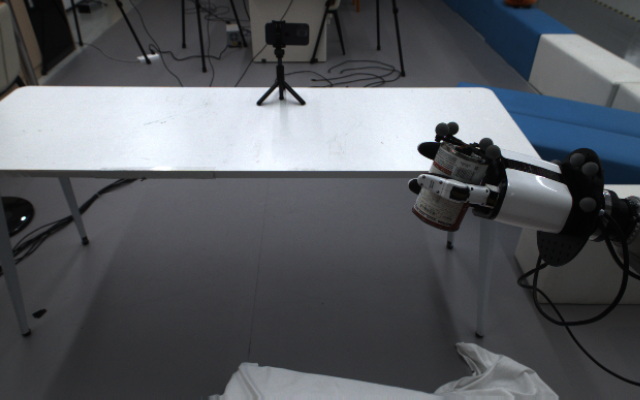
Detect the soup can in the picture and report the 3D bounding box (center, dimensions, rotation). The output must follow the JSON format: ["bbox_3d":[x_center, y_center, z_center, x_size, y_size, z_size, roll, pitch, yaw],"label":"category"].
[{"bbox_3d":[0.173,-0.020,0.641,0.067,0.101,0.067,16,21,-7],"label":"soup can"}]
